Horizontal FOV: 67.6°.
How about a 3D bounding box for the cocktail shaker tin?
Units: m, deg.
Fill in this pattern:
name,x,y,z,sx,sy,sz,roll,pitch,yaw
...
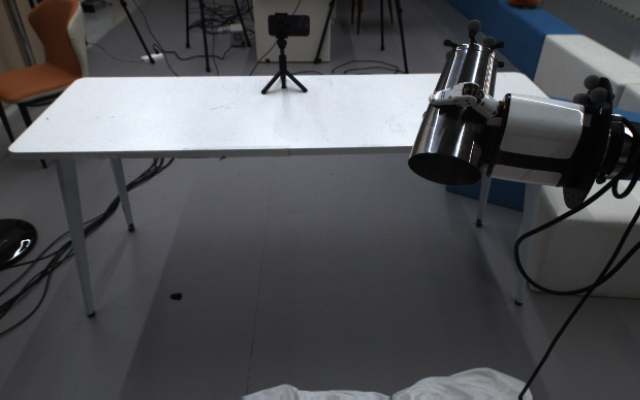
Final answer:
name,x,y,z,sx,sy,sz,roll,pitch,yaw
cocktail shaker tin,0.183,-0.114,0.629,0.093,0.093,0.170,13,73,16
